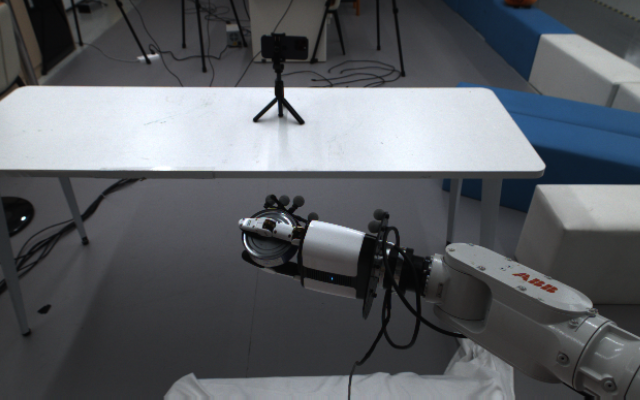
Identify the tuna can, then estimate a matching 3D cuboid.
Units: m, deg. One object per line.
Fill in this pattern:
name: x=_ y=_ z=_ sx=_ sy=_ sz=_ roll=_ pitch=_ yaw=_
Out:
tuna can: x=-0.073 y=0.057 z=0.737 sx=0.085 sy=0.034 sz=0.085 roll=-4 pitch=56 yaw=6
